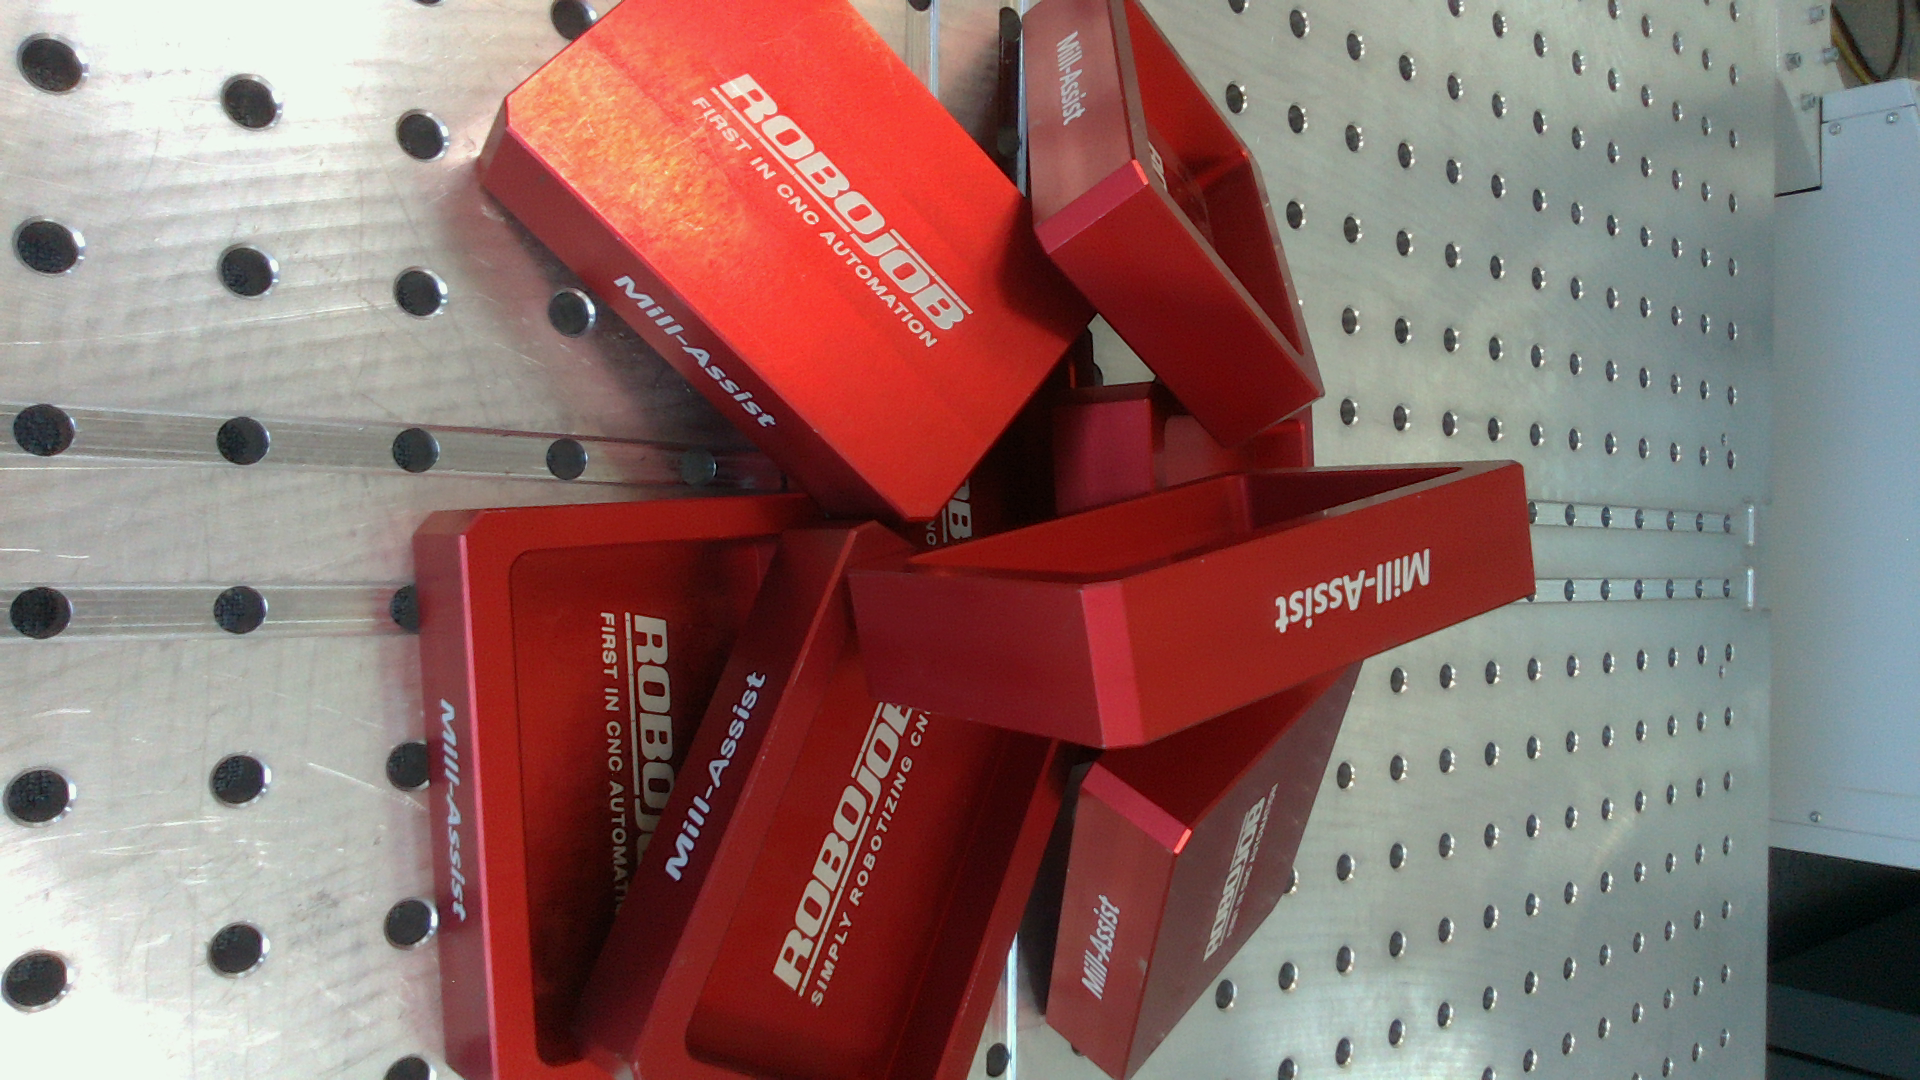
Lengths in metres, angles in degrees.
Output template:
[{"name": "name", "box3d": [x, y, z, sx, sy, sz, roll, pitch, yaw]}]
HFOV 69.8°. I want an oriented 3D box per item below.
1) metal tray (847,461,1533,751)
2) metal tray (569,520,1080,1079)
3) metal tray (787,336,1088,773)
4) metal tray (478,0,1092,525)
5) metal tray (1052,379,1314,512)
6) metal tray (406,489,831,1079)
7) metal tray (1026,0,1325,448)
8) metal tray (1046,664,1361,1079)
[{"name": "metal tray", "box3d": [0.053, 0.009, 0.309, 0.131, 0.090, 0.030, -14, 99, -35]}, {"name": "metal tray", "box3d": [-0.024, 0.071, 0.329, 0.090, 0.030, 0.130, 33, 70, -35]}, {"name": "metal tray", "box3d": [-0.001, 0.002, 0.387, 0.090, 0.030, 0.130, -6, 92, -41]}, {"name": "metal tray", "box3d": [-0.037, -0.075, 0.336, 0.130, 0.030, 0.090, 44, 63, -13]}, {"name": "metal tray", "box3d": [0.075, -0.002, 0.427, 0.131, 0.030, 0.090, -8, 95, -57]}, {"name": "metal tray", "box3d": [-0.076, 0.055, 0.326, 0.090, 0.030, 0.130, -6, 93, -40]}, {"name": "metal tray", "box3d": [0.059, -0.099, 0.393, 0.090, 0.030, 0.130, 40, 33, -32]}, {"name": "metal tray", "box3d": [0.069, 0.089, 0.403, 0.090, 0.030, 0.130, -36, 145, -34]}]
